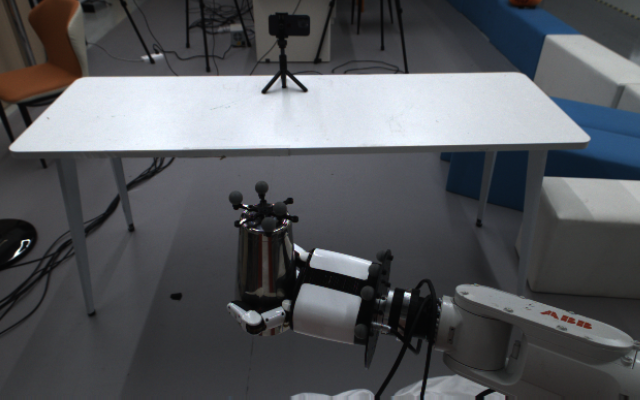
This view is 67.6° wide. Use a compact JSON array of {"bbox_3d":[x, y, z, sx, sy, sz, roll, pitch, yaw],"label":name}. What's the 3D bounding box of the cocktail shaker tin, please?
[{"bbox_3d":[-0.073,0.091,0.655,0.093,0.170,0.093,3,34,-2],"label":"cocktail shaker tin"}]
